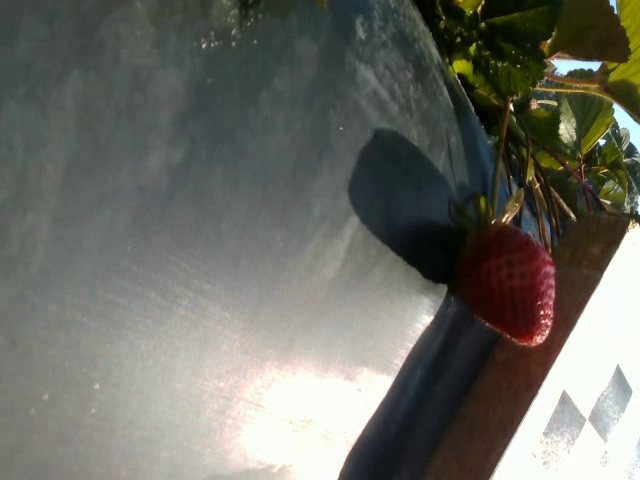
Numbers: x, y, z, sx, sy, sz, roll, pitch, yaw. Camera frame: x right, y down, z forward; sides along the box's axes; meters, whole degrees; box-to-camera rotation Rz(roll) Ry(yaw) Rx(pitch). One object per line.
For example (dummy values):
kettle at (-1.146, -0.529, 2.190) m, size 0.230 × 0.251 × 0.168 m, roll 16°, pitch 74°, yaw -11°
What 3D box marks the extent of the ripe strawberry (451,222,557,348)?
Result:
ripe strawberry at (0.045, 0.014, 0.144) m, size 0.033 × 0.038 × 0.035 m, roll -32°, pitch -52°, yaw 16°
